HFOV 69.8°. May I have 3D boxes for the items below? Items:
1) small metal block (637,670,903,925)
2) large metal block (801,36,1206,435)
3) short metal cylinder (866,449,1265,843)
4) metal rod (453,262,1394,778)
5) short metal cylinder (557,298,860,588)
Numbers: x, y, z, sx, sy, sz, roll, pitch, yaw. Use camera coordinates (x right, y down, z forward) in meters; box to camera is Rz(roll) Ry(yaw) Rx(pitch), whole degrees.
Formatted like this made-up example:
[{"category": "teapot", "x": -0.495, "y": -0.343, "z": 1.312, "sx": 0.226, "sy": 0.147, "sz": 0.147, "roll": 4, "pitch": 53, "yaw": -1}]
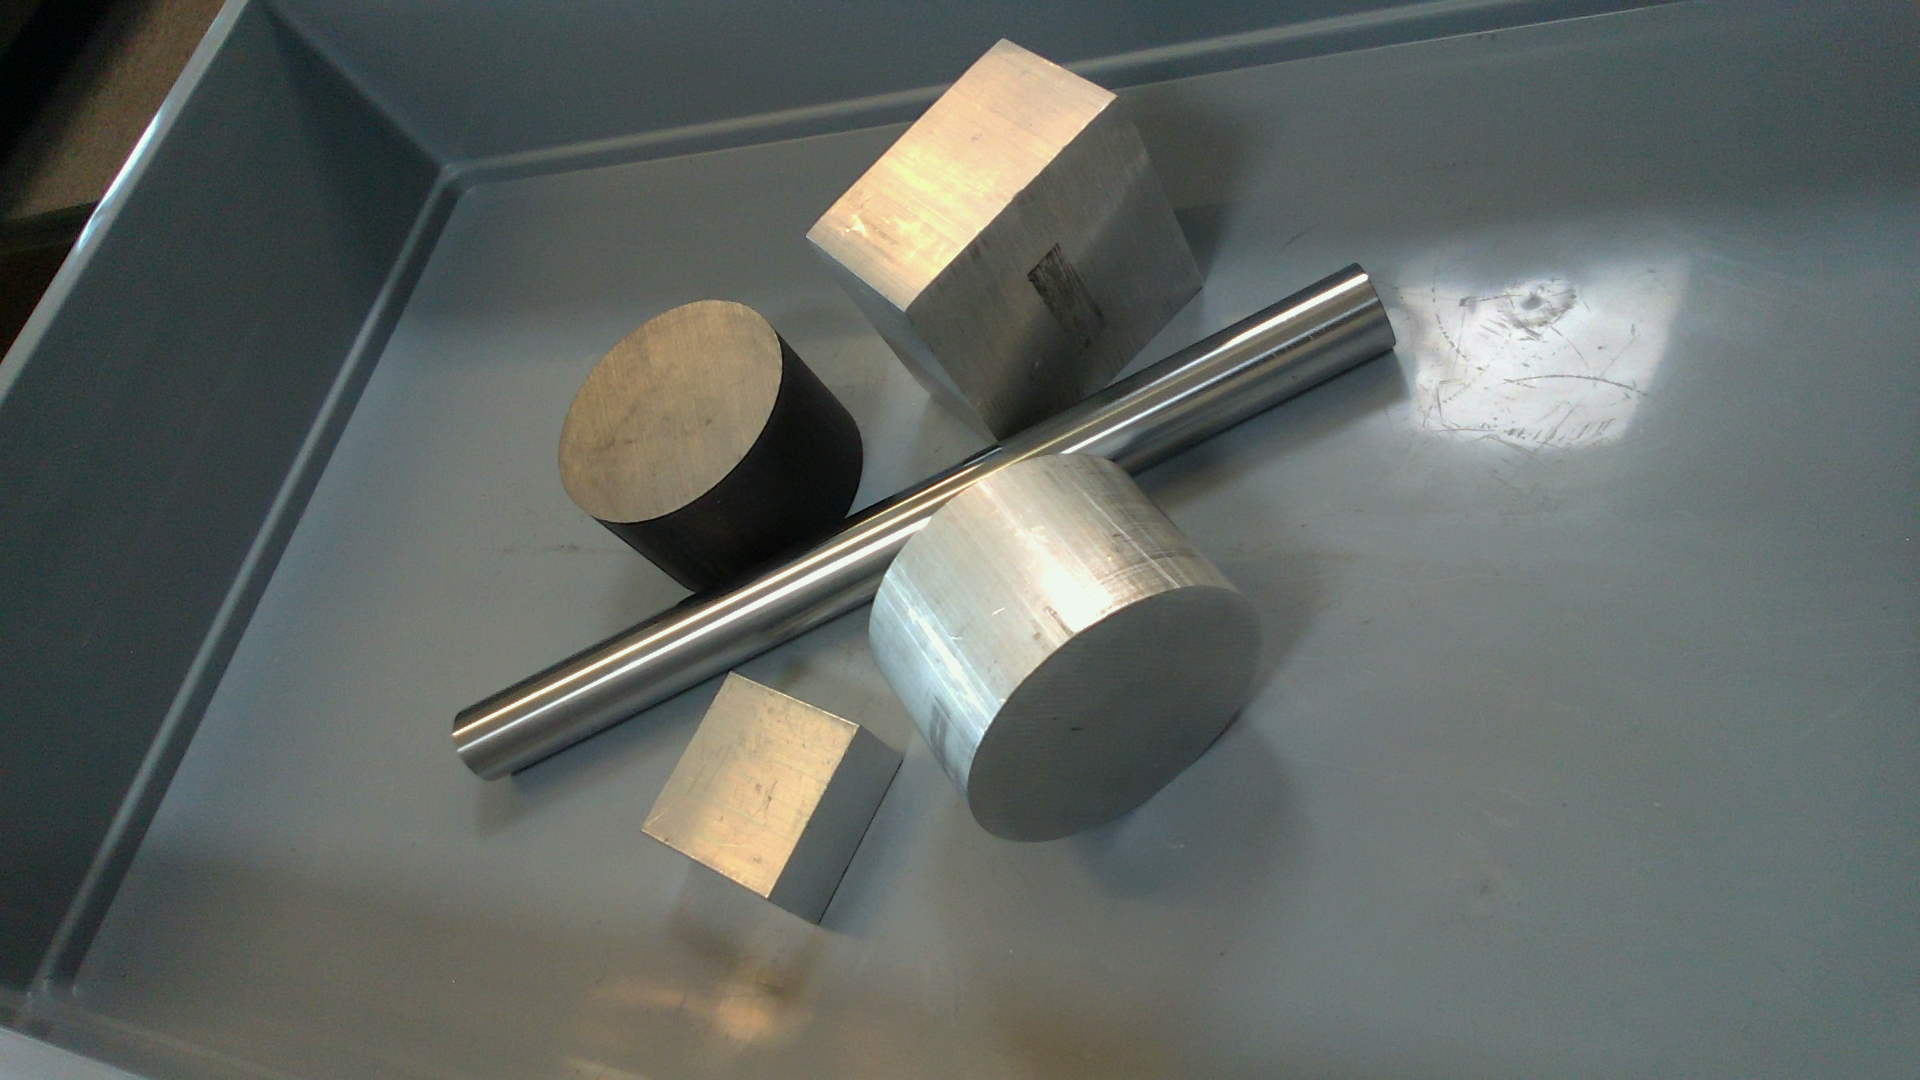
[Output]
[{"category": "small metal block", "x": -0.052, "y": 0.070, "z": 0.377, "sx": 0.050, "sy": 0.025, "sz": 0.050, "roll": 16, "pitch": 70, "yaw": 35}, {"category": "large metal block", "x": 0.015, "y": -0.081, "z": 0.399, "sx": 0.080, "sy": 0.080, "sz": 0.050, "roll": -45, "pitch": 51, "yaw": -3}, {"category": "short metal cylinder", "x": 0.025, "y": 0.025, "z": 0.328, "sx": 0.080, "sy": 0.080, "sz": 0.050, "roll": -40, "pitch": 51, "yaw": 1}, {"category": "metal rod", "x": -0.020, "y": 0.000, "z": 0.403, "sx": 0.299, "sy": 0.025, "sz": 0.025, "roll": -26, "pitch": 52, "yaw": 12}, {"category": "short metal cylinder", "x": -0.079, "y": -0.029, "z": 0.437, "sx": 0.080, "sy": 0.050, "sz": 0.080, "roll": -13, "pitch": 56, "yaw": 21}]
